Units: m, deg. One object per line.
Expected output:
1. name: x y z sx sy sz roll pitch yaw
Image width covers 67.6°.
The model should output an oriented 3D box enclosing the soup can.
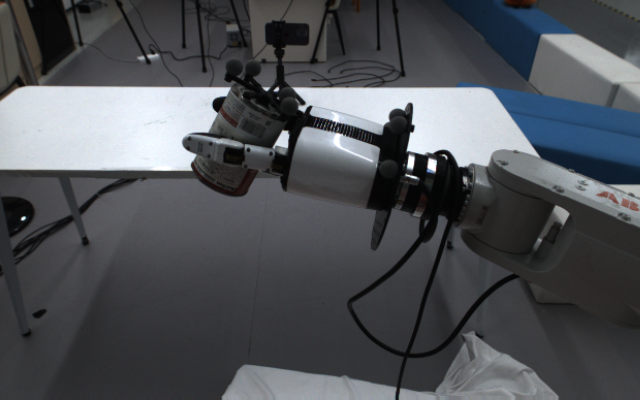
1. soup can: -0.083 -0.063 0.513 0.067 0.101 0.067 28 22 -12
